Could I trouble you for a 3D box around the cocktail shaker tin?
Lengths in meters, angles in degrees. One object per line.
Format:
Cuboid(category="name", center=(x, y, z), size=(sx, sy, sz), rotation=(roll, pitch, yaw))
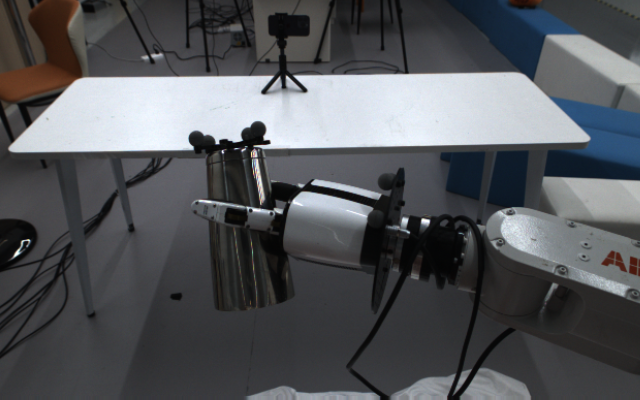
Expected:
Cuboid(category="cocktail shaker tin", center=(-0.084, 0.031, 0.549), size=(0.093, 0.170, 0.093), rotation=(-8, 1, 0))
